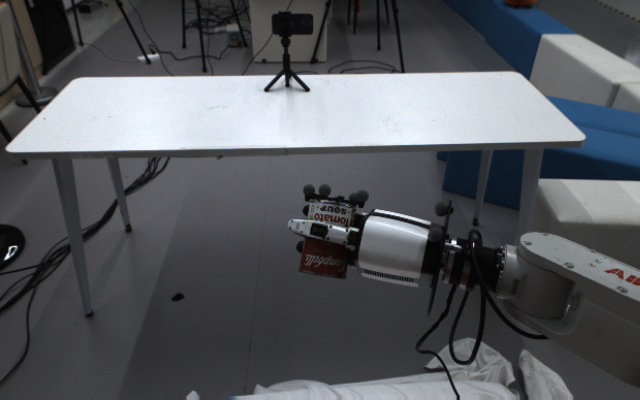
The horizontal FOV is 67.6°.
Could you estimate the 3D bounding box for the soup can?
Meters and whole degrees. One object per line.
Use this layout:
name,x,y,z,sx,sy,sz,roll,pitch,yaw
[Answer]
soup can,0.012,0.055,0.676,0.067,0.101,0.067,9,-6,1
